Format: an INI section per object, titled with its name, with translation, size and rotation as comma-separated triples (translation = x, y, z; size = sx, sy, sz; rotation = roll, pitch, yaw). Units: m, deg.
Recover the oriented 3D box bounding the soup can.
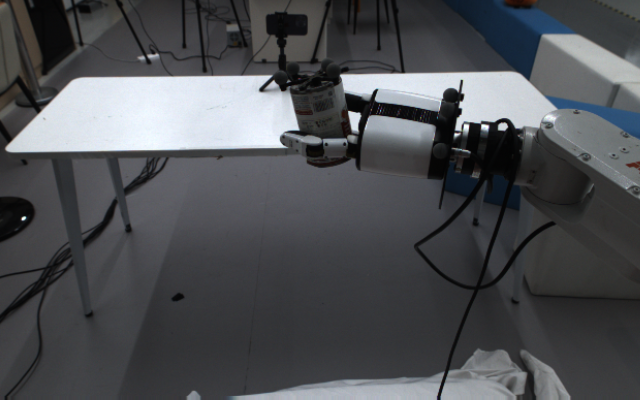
[soup can]
translation = 0.006, -0.101, 0.616
size = 0.067, 0.101, 0.067
rotation = -11, 28, 6
